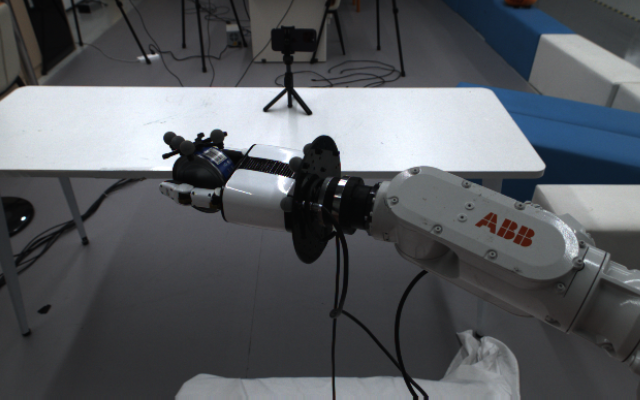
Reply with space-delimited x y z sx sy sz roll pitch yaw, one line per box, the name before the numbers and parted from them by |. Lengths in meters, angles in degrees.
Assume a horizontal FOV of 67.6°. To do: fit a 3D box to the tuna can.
tuna can | -0.148 -0.028 0.638 0.085 0.085 0.034 17 35 20
